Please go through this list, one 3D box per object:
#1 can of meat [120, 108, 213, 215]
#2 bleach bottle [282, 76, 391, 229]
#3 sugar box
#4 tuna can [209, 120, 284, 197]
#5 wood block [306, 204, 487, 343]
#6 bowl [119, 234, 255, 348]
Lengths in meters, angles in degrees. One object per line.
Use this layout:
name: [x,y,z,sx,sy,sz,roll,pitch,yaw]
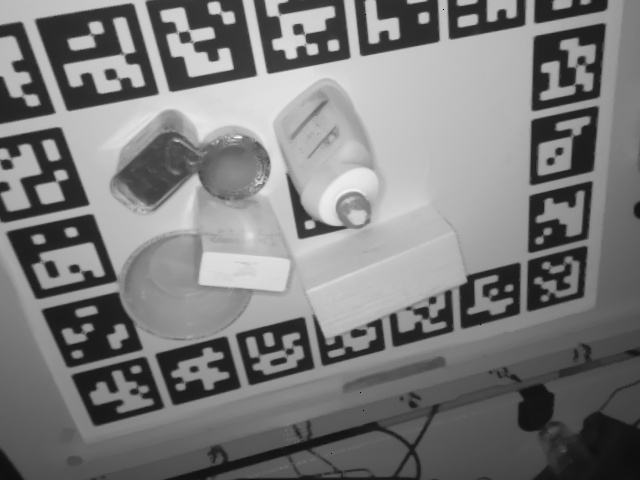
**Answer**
can of meat: [-0.169,-0.090,0.766,0.101,0.084,0.058,-38,123,11]
bleach bottle: [0.027,-0.087,0.715,0.102,0.251,0.068,-35,121,7]
sugar box: [-0.086,-0.005,0.772,0.094,0.176,0.045,5,115,-19]
tuna can: [-0.086,-0.095,0.805,0.086,0.034,0.085,-6,116,-11]
wood block: [0.098,0.042,0.899,0.207,0.090,0.090,-20,117,-1]
bowl: [-0.163,0.052,0.857,0.163,0.055,0.160,-8,119,-14]
